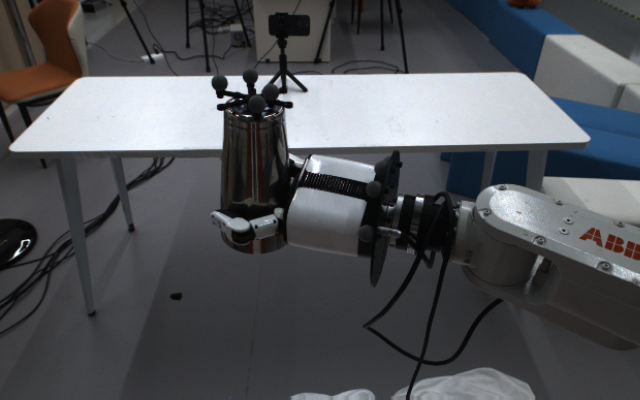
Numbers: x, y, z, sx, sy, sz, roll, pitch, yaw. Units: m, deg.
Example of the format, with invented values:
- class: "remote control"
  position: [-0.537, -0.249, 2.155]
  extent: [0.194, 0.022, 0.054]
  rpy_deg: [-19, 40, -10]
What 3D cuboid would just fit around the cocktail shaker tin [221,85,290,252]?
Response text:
- class: "cocktail shaker tin"
  position: [-0.074, -0.031, 0.568]
  extent: [0.093, 0.170, 0.093]
  rpy_deg: [3, 34, -2]
